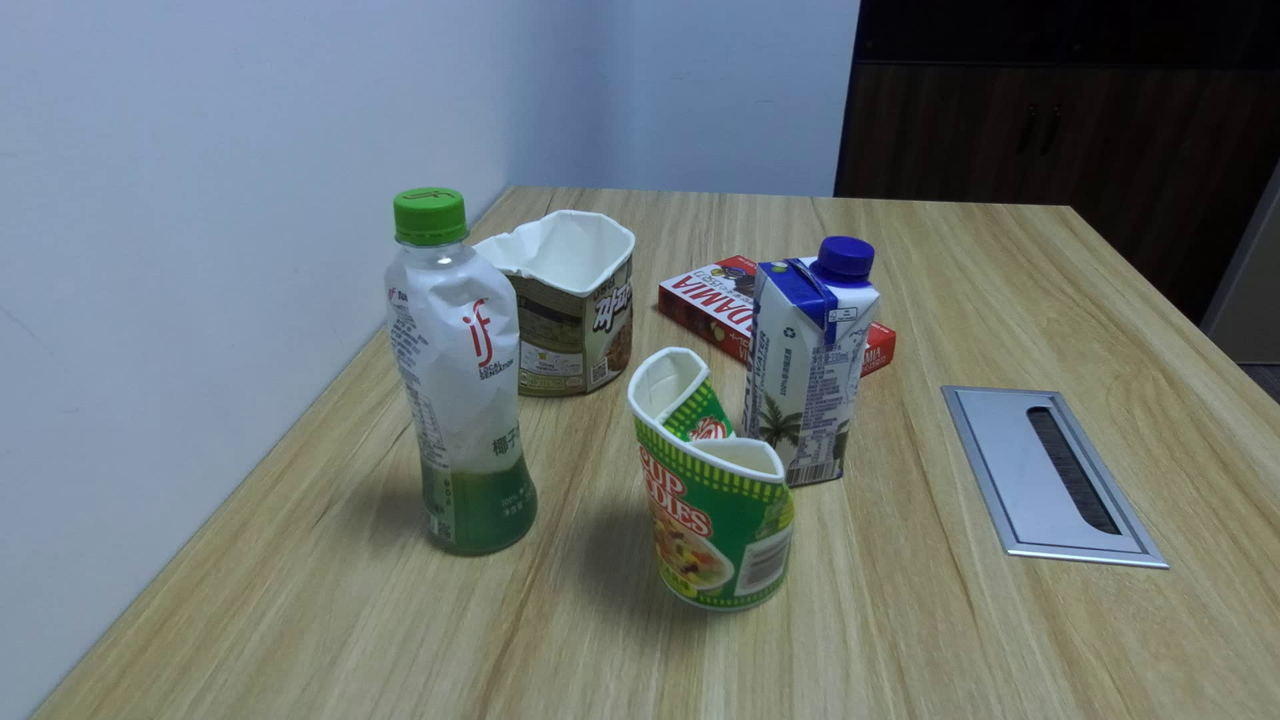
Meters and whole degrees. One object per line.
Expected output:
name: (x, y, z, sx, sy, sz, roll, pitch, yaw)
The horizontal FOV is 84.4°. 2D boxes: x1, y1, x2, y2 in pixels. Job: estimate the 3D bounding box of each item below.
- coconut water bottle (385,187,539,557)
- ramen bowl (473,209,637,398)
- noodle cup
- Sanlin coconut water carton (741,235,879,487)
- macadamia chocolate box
coconut water bottle: (-0.091, 0.009, 0.359, 0.067, 0.187, 0.067, -1, 30, 1)
ramen bowl: (-0.058, -0.048, 0.530, 0.113, 0.097, 0.134, 12, 35, 20)
noodle cup: (0.040, 0.060, 0.346, 0.075, 0.122, 0.083, 1, 42, 17)
Sanlin coconut water carton: (0.095, 0.002, 0.404, 0.061, 0.144, 0.060, -9, 34, -11)
macadamia chocolate box: (0.105, -0.032, 0.571, 0.096, 0.027, 0.177, -22, 39, -31)
